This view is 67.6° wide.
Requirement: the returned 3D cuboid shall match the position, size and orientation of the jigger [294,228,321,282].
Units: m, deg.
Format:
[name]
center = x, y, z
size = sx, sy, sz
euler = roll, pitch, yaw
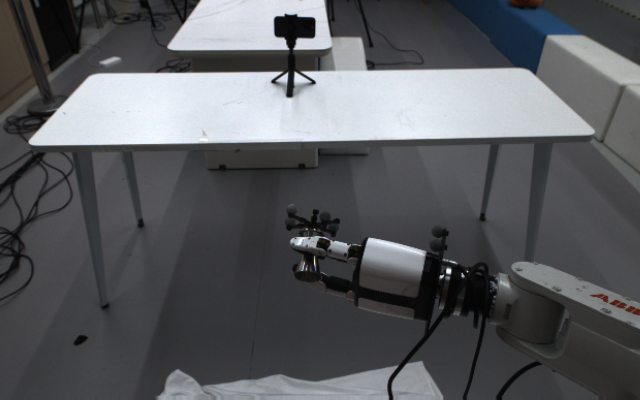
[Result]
[jigger]
center = -0.016, 0.079, 0.710
size = 0.043, 0.043, 0.071
euler = 4, 60, 2
